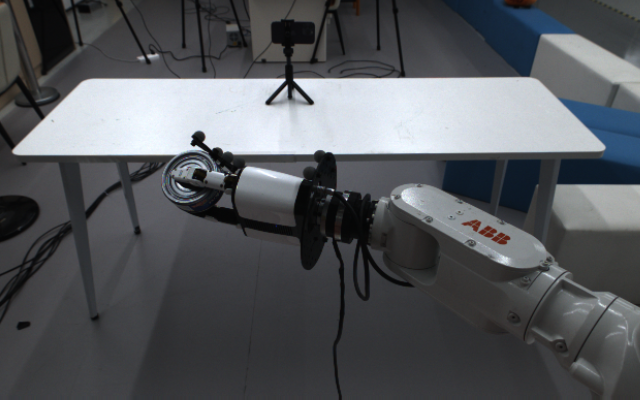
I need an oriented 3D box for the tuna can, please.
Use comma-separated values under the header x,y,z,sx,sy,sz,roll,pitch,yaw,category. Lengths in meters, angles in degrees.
x,y,z,sx,sy,sz,roll,pitch,yaw,category
-0.180,-0.027,0.689,0.085,0.034,0.085,-3,69,9,tuna can
